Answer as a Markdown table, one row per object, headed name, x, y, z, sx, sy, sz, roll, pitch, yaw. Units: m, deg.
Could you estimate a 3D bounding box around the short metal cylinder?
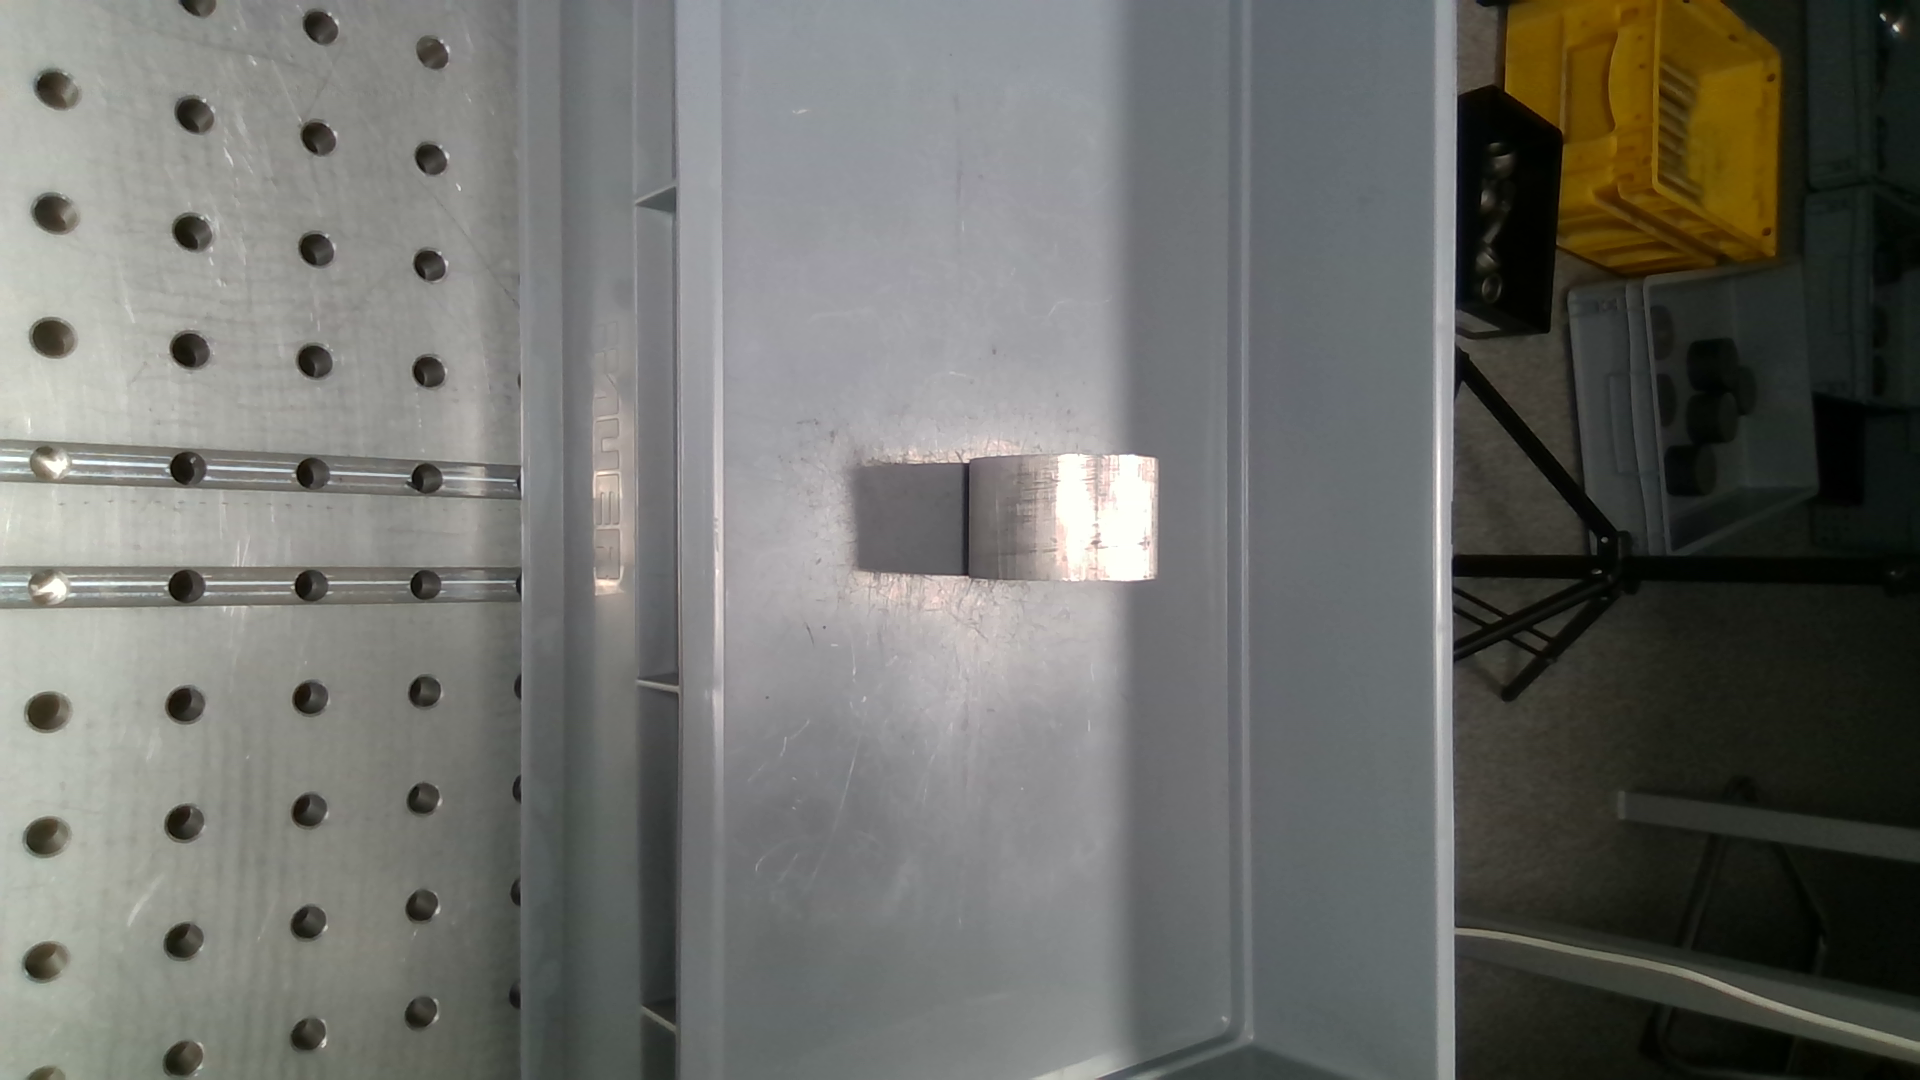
| name | x | y | z | sx | sy | sz | roll | pitch | yaw |
| --- | --- | --- | --- | --- | --- | --- | --- | --- | --- |
| short metal cylinder | 0.043 | -0.009 | 0.581 | 0.080 | 0.080 | 0.050 | 0 | 90 | -40 |
